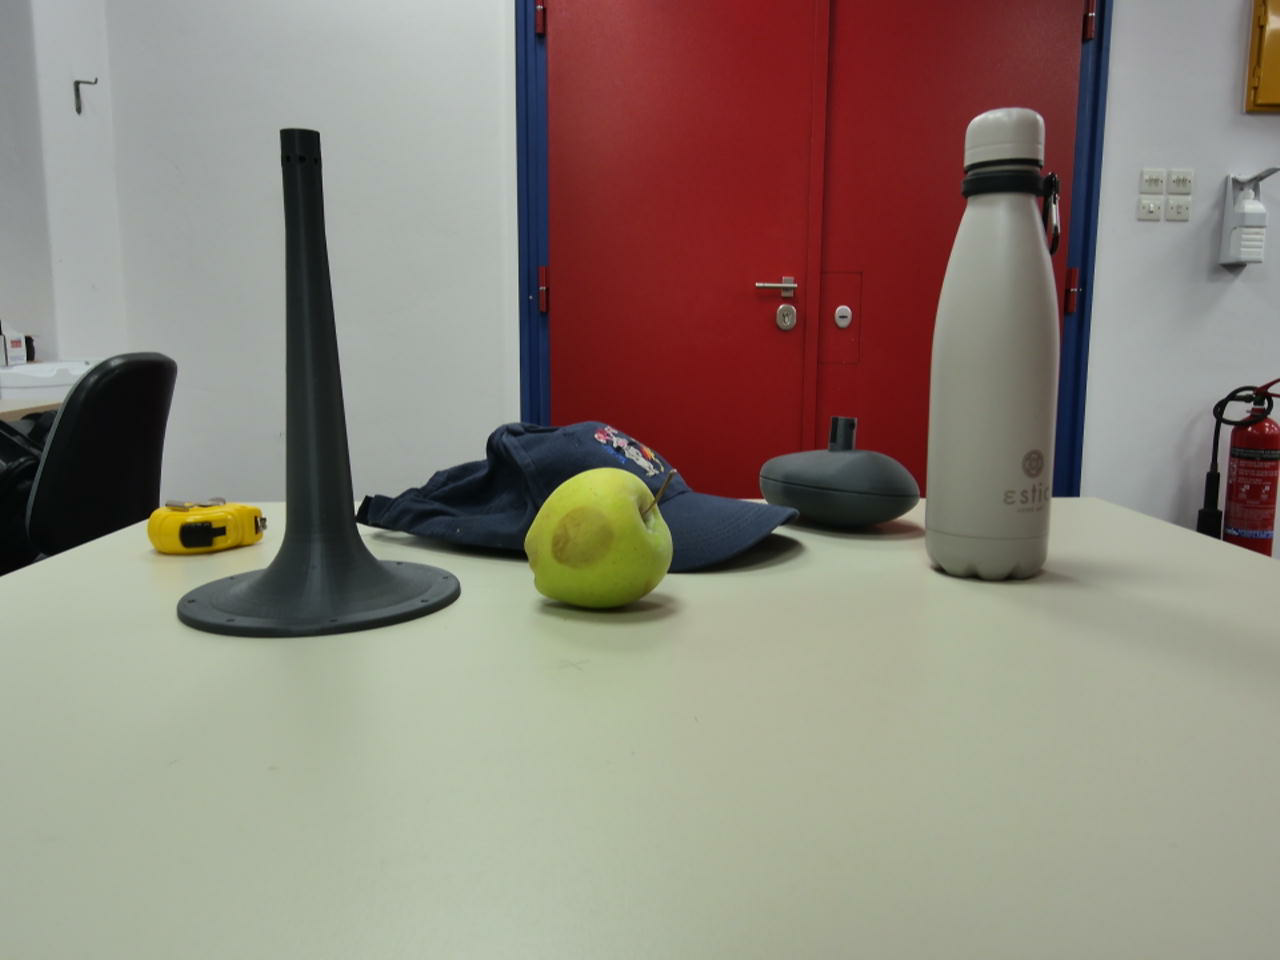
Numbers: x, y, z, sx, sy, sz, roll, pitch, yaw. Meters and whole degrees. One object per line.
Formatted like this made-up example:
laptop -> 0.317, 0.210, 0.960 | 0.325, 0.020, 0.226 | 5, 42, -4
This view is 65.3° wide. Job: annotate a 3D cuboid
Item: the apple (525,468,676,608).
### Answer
apple -> -0.021, 0.031, 0.542 | 0.077, 0.075, 0.072 | 6, 9, 43
